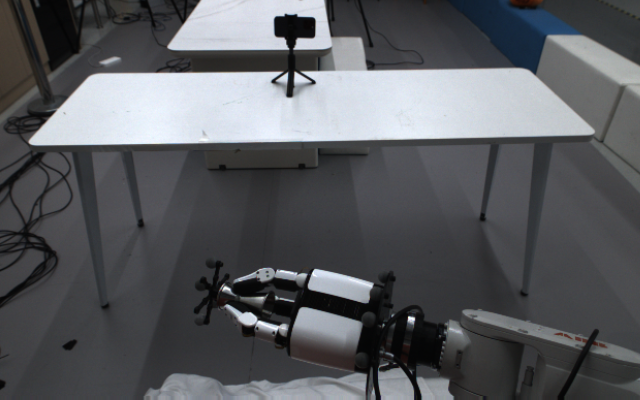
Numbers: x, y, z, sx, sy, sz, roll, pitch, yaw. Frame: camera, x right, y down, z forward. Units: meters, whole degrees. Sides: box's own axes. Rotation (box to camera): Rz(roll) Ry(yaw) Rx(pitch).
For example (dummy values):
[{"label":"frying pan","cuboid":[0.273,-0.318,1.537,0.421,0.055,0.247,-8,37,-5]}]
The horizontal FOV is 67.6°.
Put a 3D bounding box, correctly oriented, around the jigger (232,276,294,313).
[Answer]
[{"label":"jigger","cuboid":[-0.094,0.136,0.658,0.071,0.043,0.043,11,36,15]}]
